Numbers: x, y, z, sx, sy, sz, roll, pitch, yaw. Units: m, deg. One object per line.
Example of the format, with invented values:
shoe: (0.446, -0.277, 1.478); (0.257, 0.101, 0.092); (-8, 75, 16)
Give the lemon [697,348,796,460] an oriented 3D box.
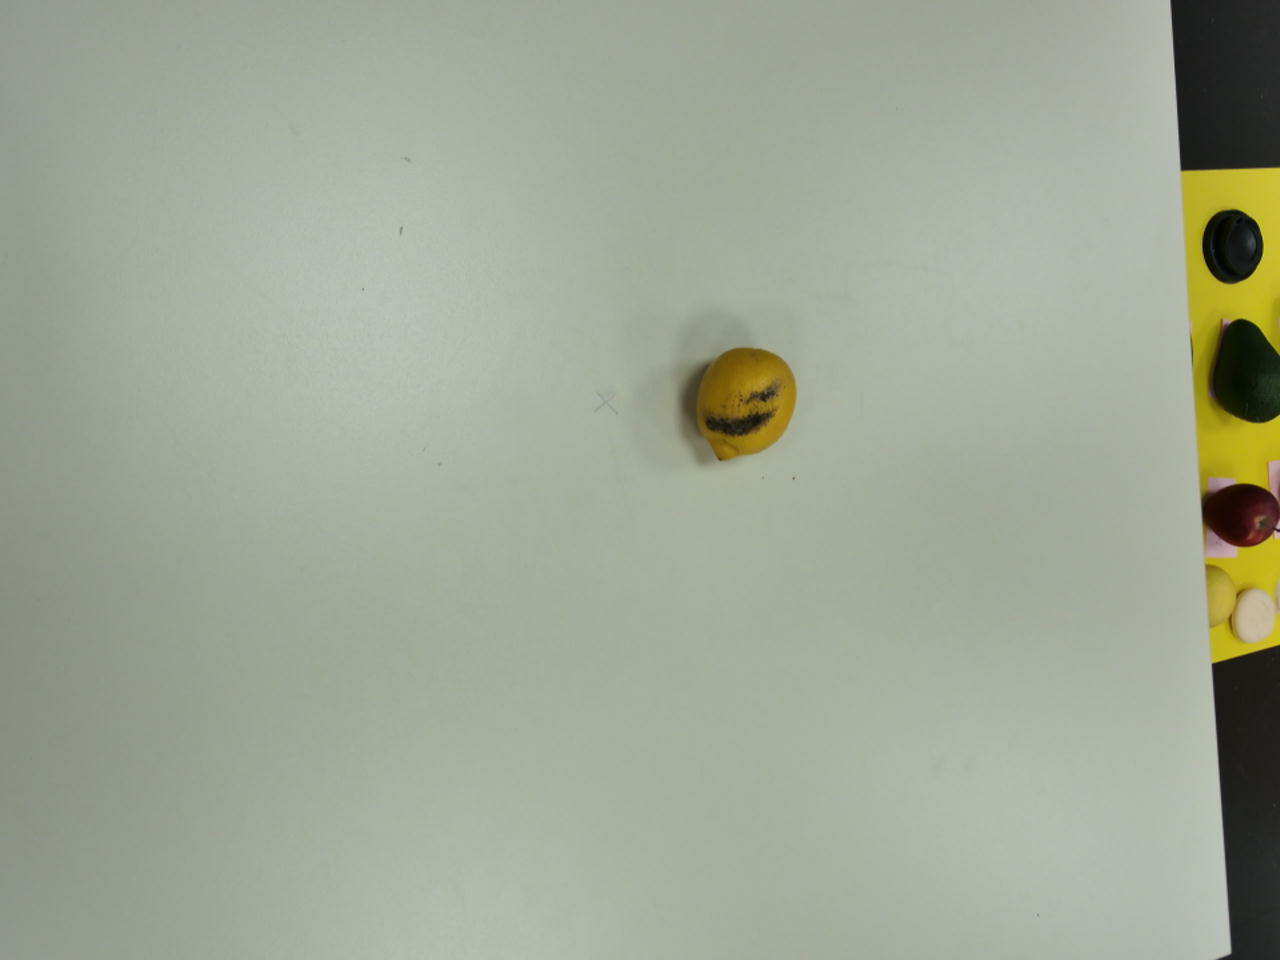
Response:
lemon: (0.060, -0.045, 0.570); (0.058, 0.056, 0.061); (-15, 96, -21)
